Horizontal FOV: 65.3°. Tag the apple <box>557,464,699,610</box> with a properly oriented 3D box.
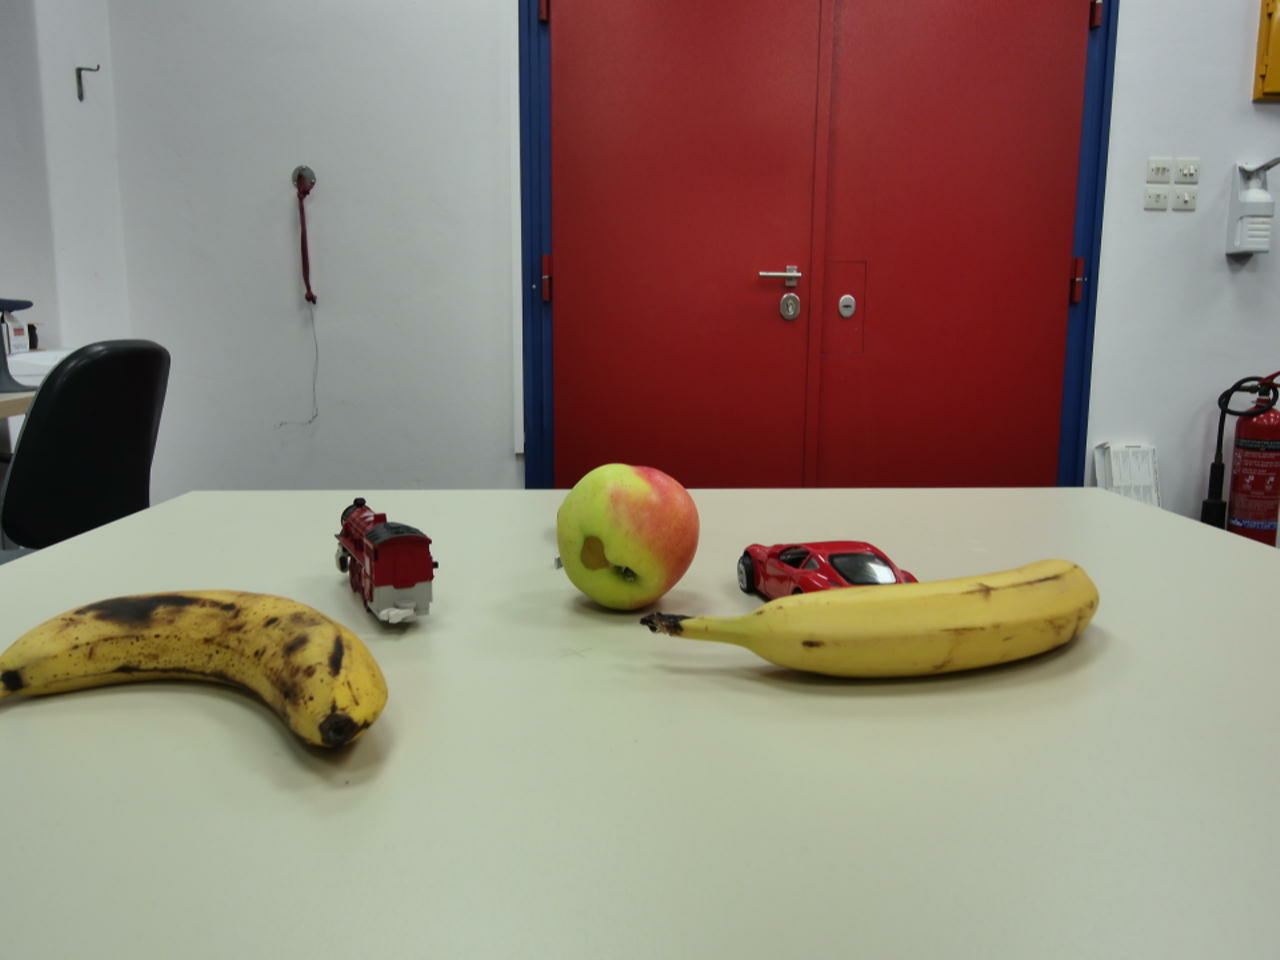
[{"bbox_3d":[-0.005,0.029,0.523,0.075,0.074,0.075,-2,7,-20],"label":"apple"}]
